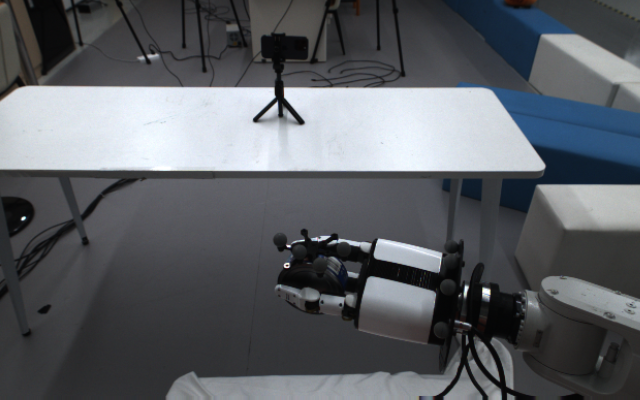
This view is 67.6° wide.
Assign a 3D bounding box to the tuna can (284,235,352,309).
[{"bbox_3d":[-0.006,0.100,0.612,0.085,0.085,0.034,10,34,12],"label":"tuna can"}]
